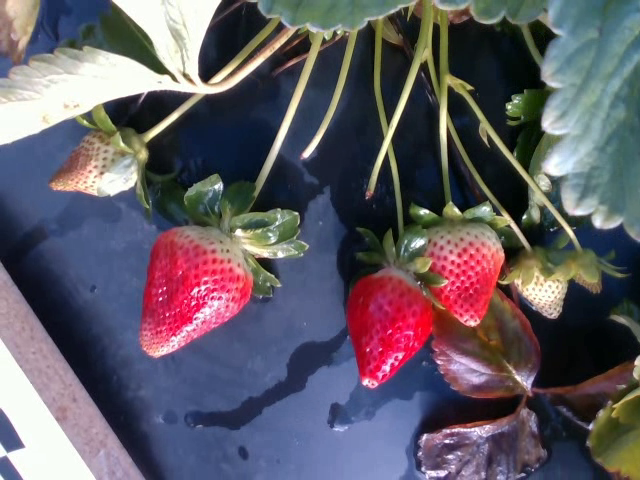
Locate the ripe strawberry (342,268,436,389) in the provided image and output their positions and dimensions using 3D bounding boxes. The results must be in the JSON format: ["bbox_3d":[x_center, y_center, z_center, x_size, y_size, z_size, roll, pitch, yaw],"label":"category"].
[{"bbox_3d":[0.026,0.040,0.265,0.044,0.055,0.042,7,-25,31],"label":"ripe strawberry"}]

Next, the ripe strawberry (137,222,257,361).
[{"bbox_3d":[-0.058,0.023,0.258,0.050,0.065,0.050,29,-19,19],"label":"ripe strawberry"}]
